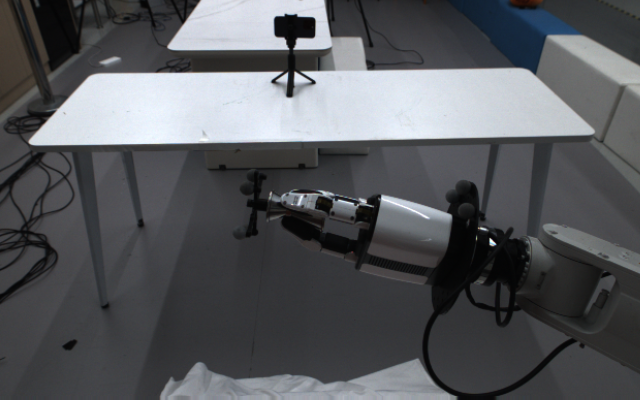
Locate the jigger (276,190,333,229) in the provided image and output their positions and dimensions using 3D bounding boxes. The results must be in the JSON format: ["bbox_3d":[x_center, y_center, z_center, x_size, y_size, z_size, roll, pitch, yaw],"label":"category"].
[{"bbox_3d":[-0.020,0.009,0.579,0.071,0.043,0.043,8,35,2],"label":"jigger"}]
